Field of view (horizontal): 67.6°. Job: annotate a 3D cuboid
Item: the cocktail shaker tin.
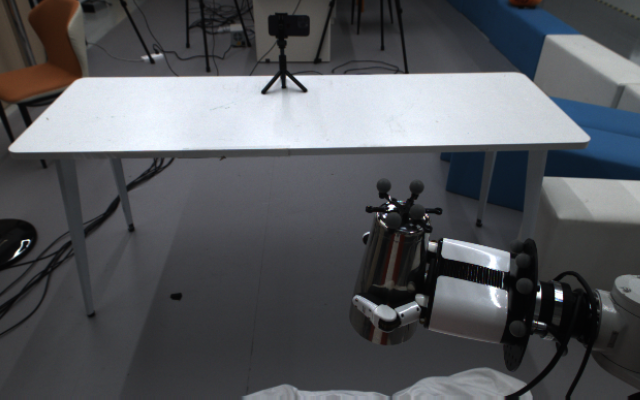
[{"bbox_3d":[0.093,0.088,0.606,0.093,0.170,0.093,3,34,-2],"label":"cocktail shaker tin"}]
